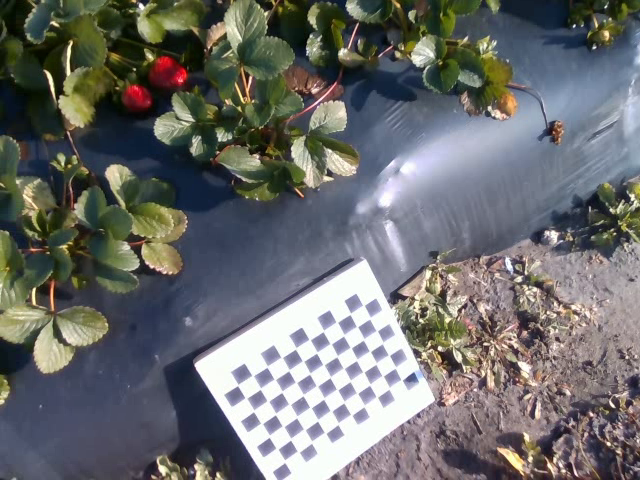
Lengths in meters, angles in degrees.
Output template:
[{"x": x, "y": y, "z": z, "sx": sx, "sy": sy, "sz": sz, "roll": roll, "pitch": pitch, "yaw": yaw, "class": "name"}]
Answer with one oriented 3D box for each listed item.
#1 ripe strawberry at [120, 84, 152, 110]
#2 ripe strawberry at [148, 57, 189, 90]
[{"x": -0.238, "y": -0.184, "z": 0.801, "sx": 0.052, "sy": 0.043, "sz": 0.036, "roll": 23, "pitch": 10, "yaw": 27, "class": "ripe strawberry"}, {"x": -0.198, "y": -0.221, "z": 0.814, "sx": 0.058, "sy": 0.052, "sz": 0.046, "roll": 30, "pitch": 6, "yaw": 29, "class": "ripe strawberry"}]
